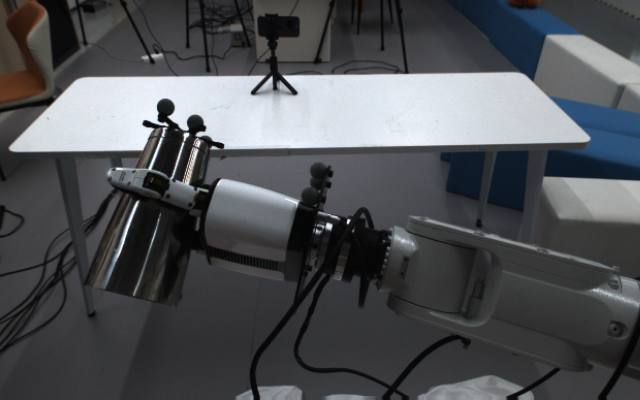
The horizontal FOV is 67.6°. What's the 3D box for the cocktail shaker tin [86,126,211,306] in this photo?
[{"bbox_3d":[-0.168,0.018,0.500,0.093,0.093,0.170,10,73,11],"label":"cocktail shaker tin"}]
